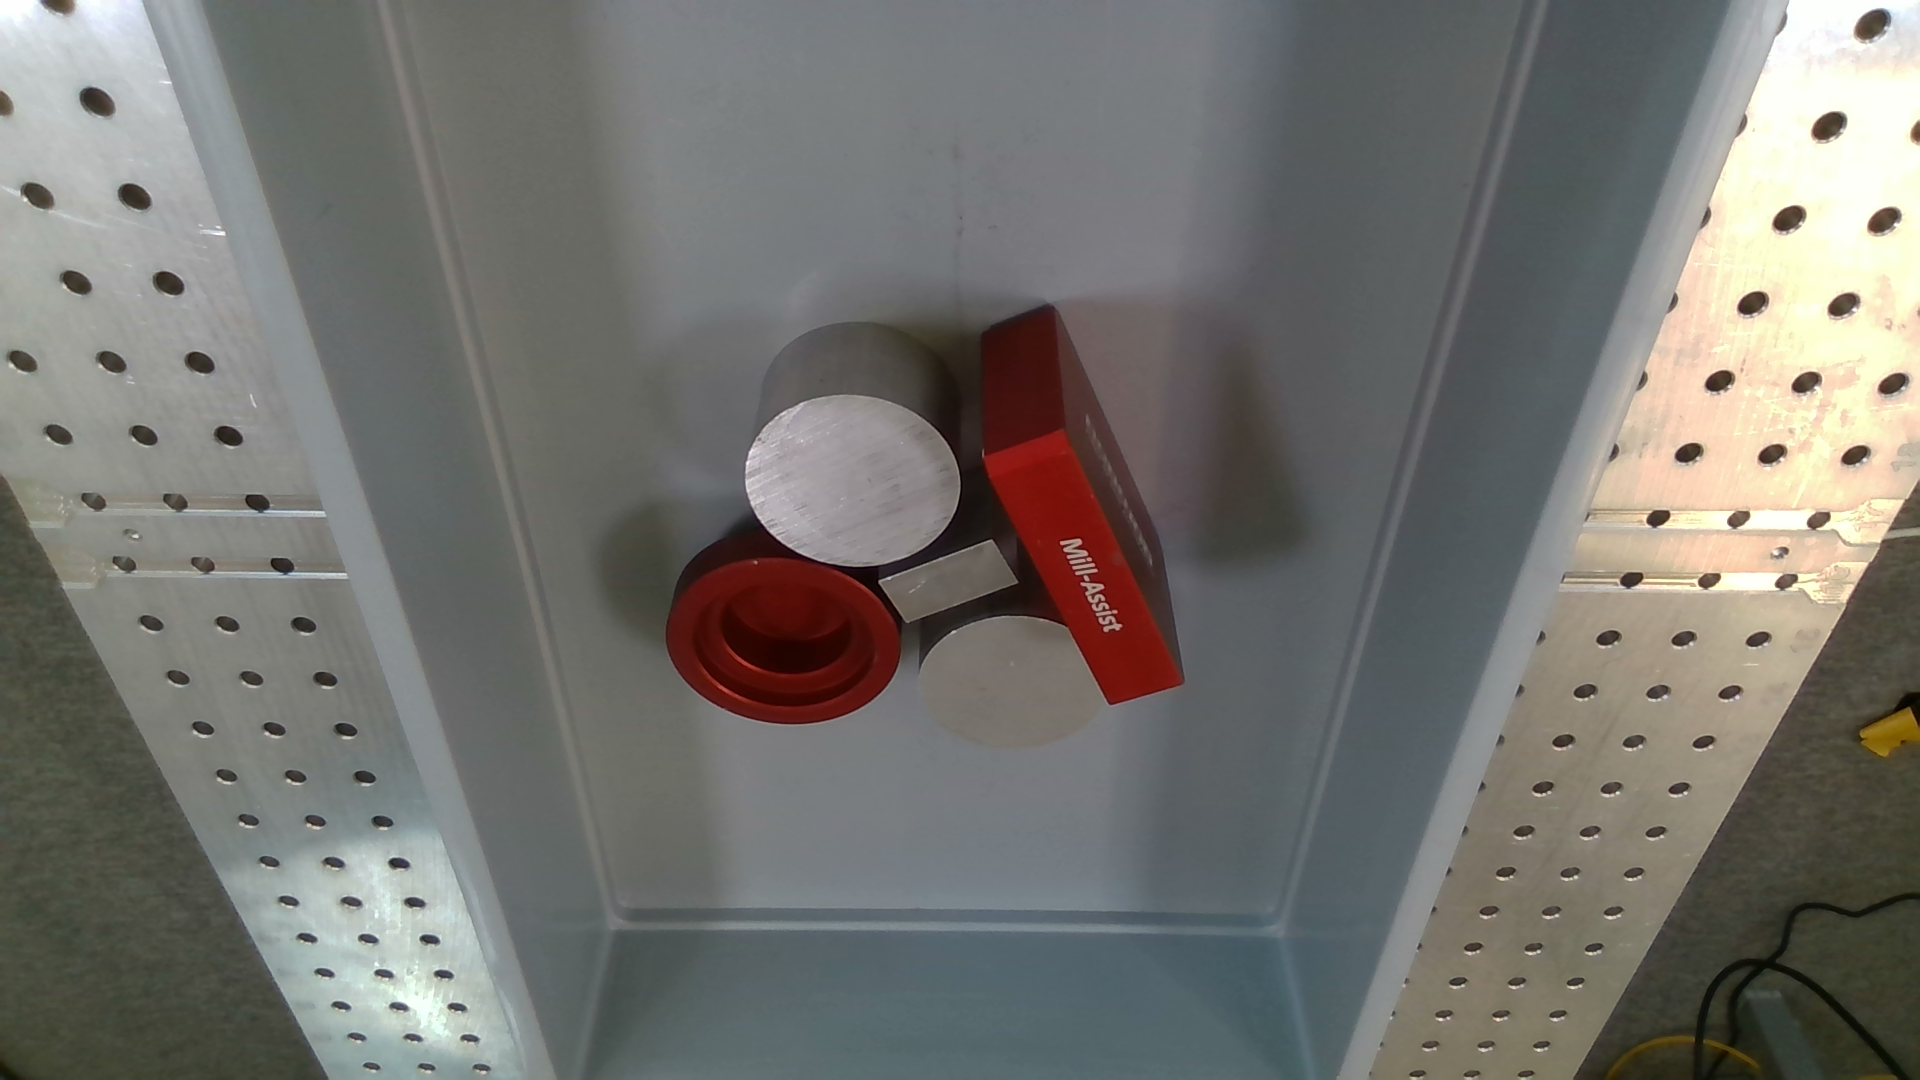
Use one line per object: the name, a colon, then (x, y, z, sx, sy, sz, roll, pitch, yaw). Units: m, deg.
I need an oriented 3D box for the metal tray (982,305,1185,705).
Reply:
metal tray: (0.048, -0.012, 0.525, 0.030, 0.090, 0.130, -19, 127, 15)

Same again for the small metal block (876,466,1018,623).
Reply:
small metal block: (-0.005, 0.001, 0.562, 0.050, 0.050, 0.025, -20, 127, 16)

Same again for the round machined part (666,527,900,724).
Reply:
round machined part: (-0.074, 0.031, 0.593, 0.098, 0.042, 0.098, 0, 130, 0)

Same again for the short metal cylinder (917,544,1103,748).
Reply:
short metal cylinder: (0.022, 0.045, 0.600, 0.080, 0.050, 0.080, 0, 130, 0)

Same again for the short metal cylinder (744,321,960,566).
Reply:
short metal cylinder: (-0.040, -0.037, 0.531, 0.080, 0.050, 0.080, 0, 130, 0)
